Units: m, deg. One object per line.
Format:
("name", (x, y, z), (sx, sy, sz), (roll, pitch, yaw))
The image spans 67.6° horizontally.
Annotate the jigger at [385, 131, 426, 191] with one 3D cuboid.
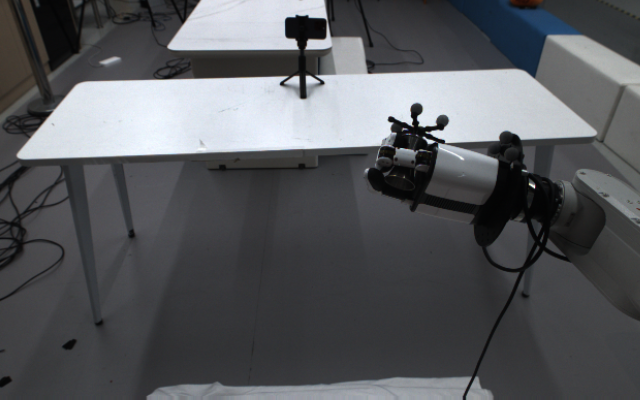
("jigger", (0.122, -0.055, 0.671), (0.043, 0.043, 0.071), (14, 71, 17))
